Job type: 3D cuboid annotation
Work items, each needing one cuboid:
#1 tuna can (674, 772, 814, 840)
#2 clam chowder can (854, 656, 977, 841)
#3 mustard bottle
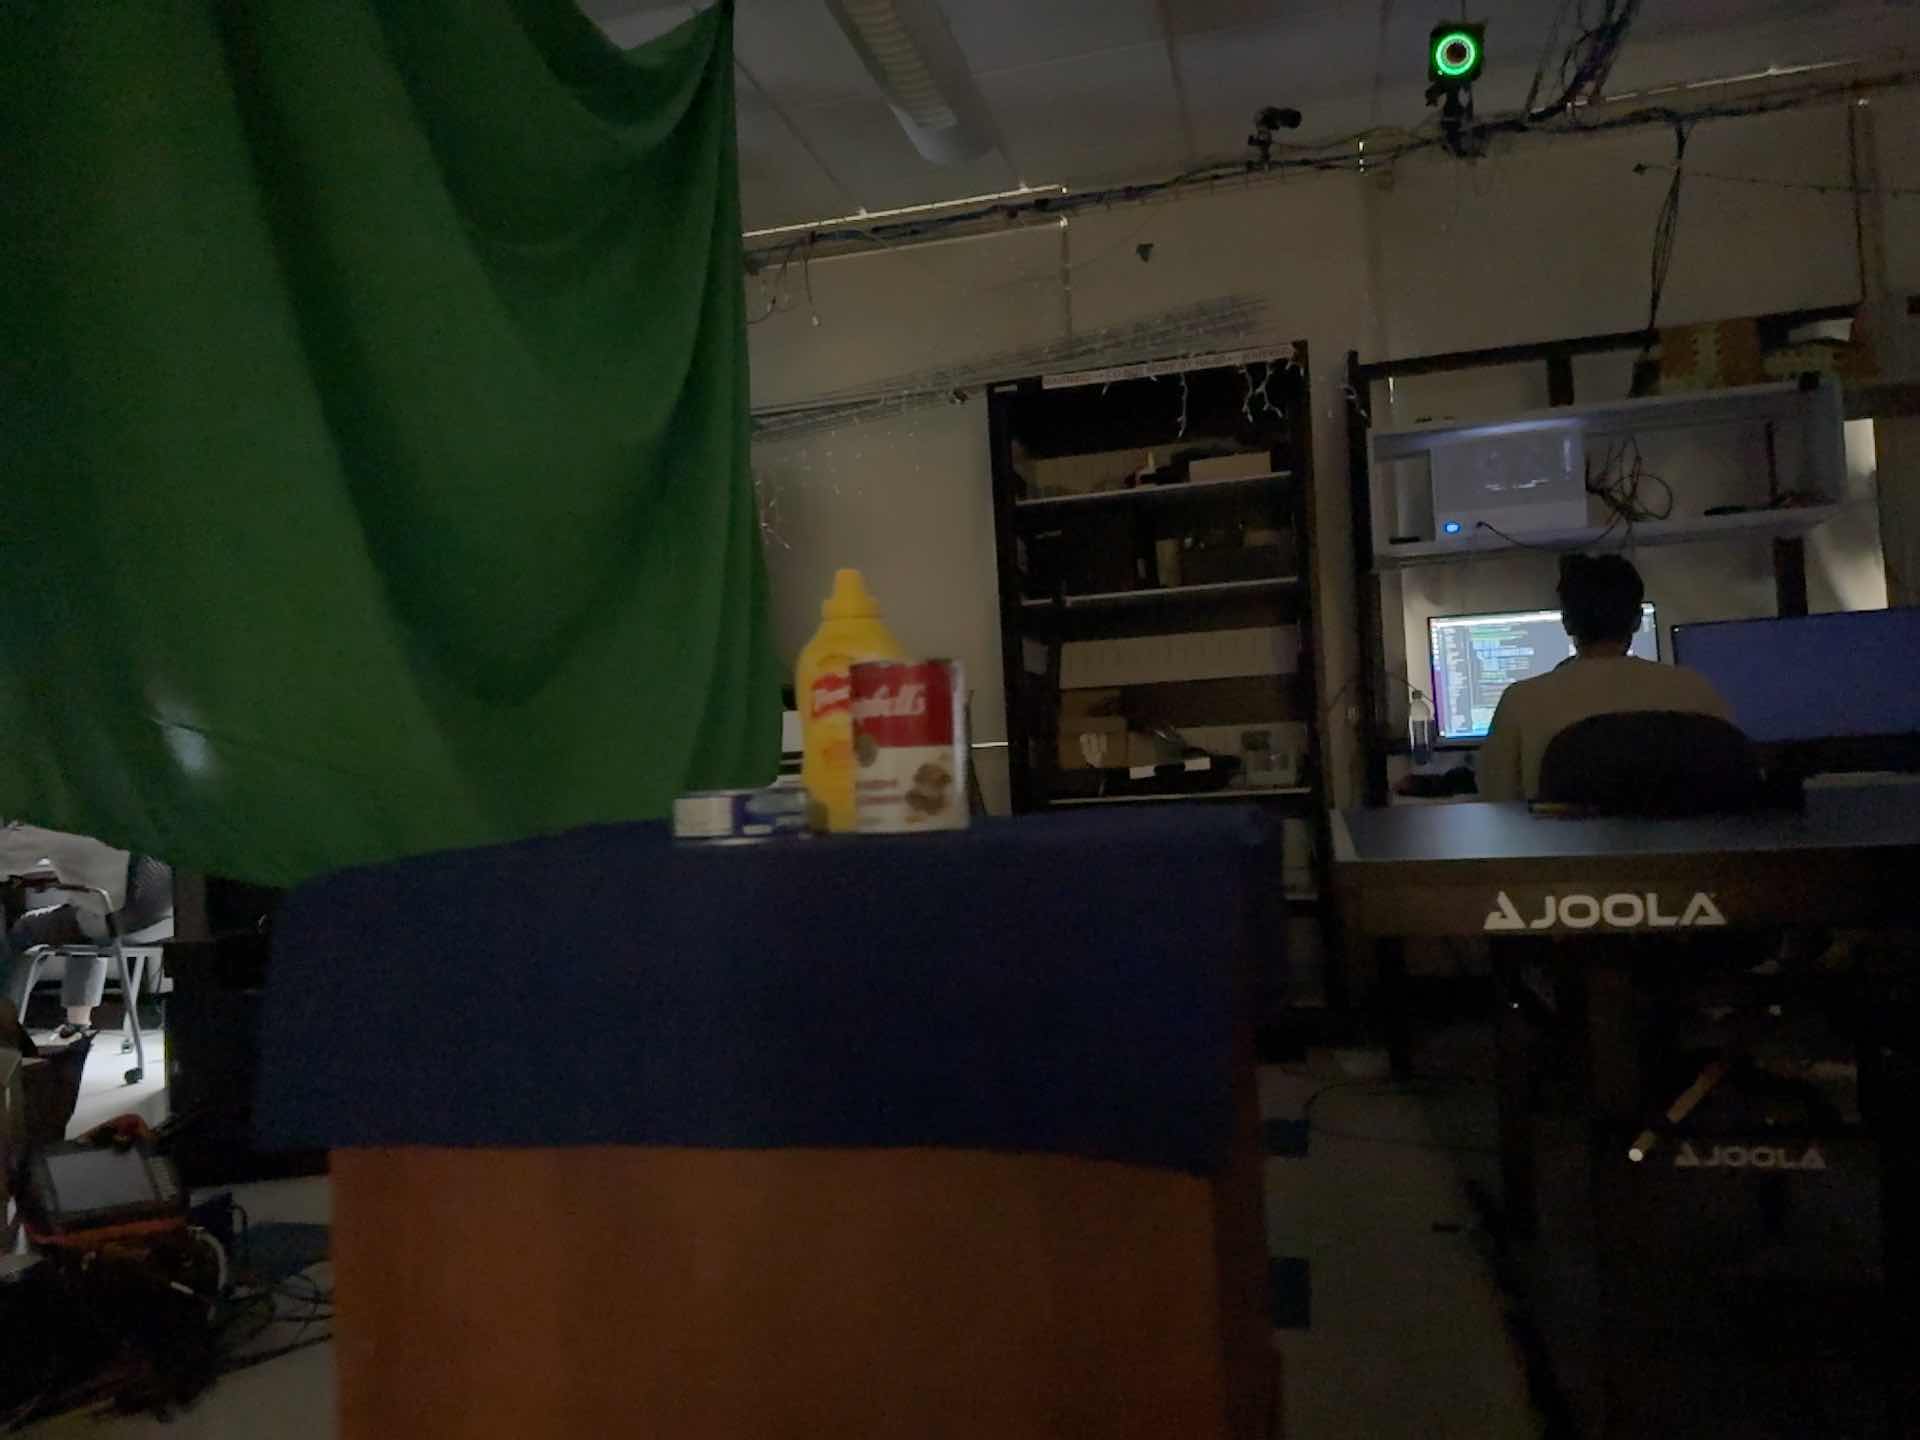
[{"bbox_3d":[-0.133,0.052,0.827,0.083,0.034,0.083,-3,1,0],"label":"tuna can"},{"bbox_3d":[-0.025,0.016,0.778,0.068,0.102,0.068,-3,1,0],"label":"clam chowder can"},{"bbox_3d":[-0.067,-0.007,0.892,0.092,0.184,0.054,-3,2,30],"label":"mustard bottle"}]
